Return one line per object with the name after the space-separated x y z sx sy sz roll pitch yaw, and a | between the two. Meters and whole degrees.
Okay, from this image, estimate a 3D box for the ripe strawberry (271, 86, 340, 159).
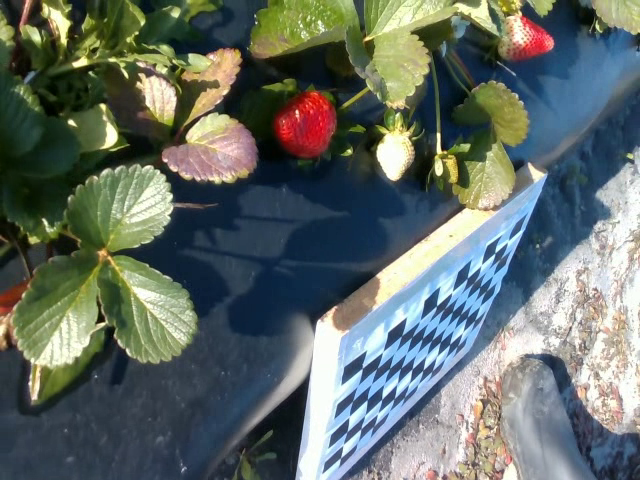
-0.010 -0.059 0.302 0.036 0.044 0.053 34 22 20 | ripe strawberry

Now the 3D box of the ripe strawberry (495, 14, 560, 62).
0.142 -0.139 0.422 0.045 0.042 0.037 9 -32 14 | ripe strawberry
